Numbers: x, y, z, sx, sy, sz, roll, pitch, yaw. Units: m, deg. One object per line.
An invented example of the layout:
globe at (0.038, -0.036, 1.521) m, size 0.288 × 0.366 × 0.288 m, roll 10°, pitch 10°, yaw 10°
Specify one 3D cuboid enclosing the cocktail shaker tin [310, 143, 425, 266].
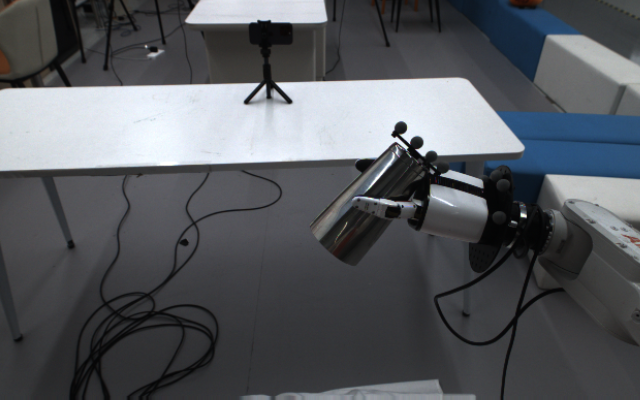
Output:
cocktail shaker tin at (0.075, -0.002, 0.697) m, size 0.093 × 0.170 × 0.093 m, roll 41°, pitch 12°, yaw -11°
